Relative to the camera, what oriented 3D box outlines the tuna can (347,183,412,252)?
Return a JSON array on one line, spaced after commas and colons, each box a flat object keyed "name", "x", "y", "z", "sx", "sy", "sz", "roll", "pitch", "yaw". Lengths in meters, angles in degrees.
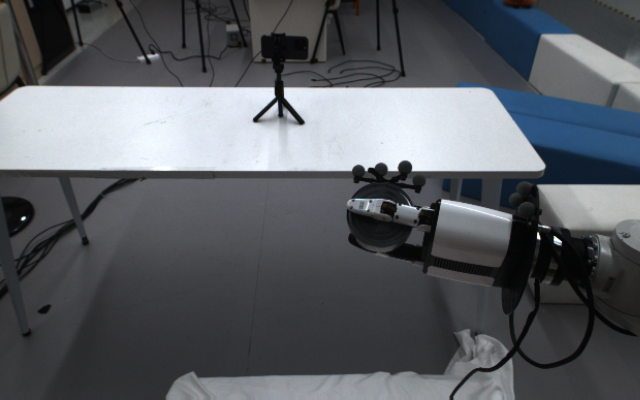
[{"name": "tuna can", "x": 0.078, "y": 0.018, "z": 0.615, "sx": 0.085, "sy": 0.034, "sz": 0.085, "roll": -3, "pitch": 68, "yaw": 7}]
